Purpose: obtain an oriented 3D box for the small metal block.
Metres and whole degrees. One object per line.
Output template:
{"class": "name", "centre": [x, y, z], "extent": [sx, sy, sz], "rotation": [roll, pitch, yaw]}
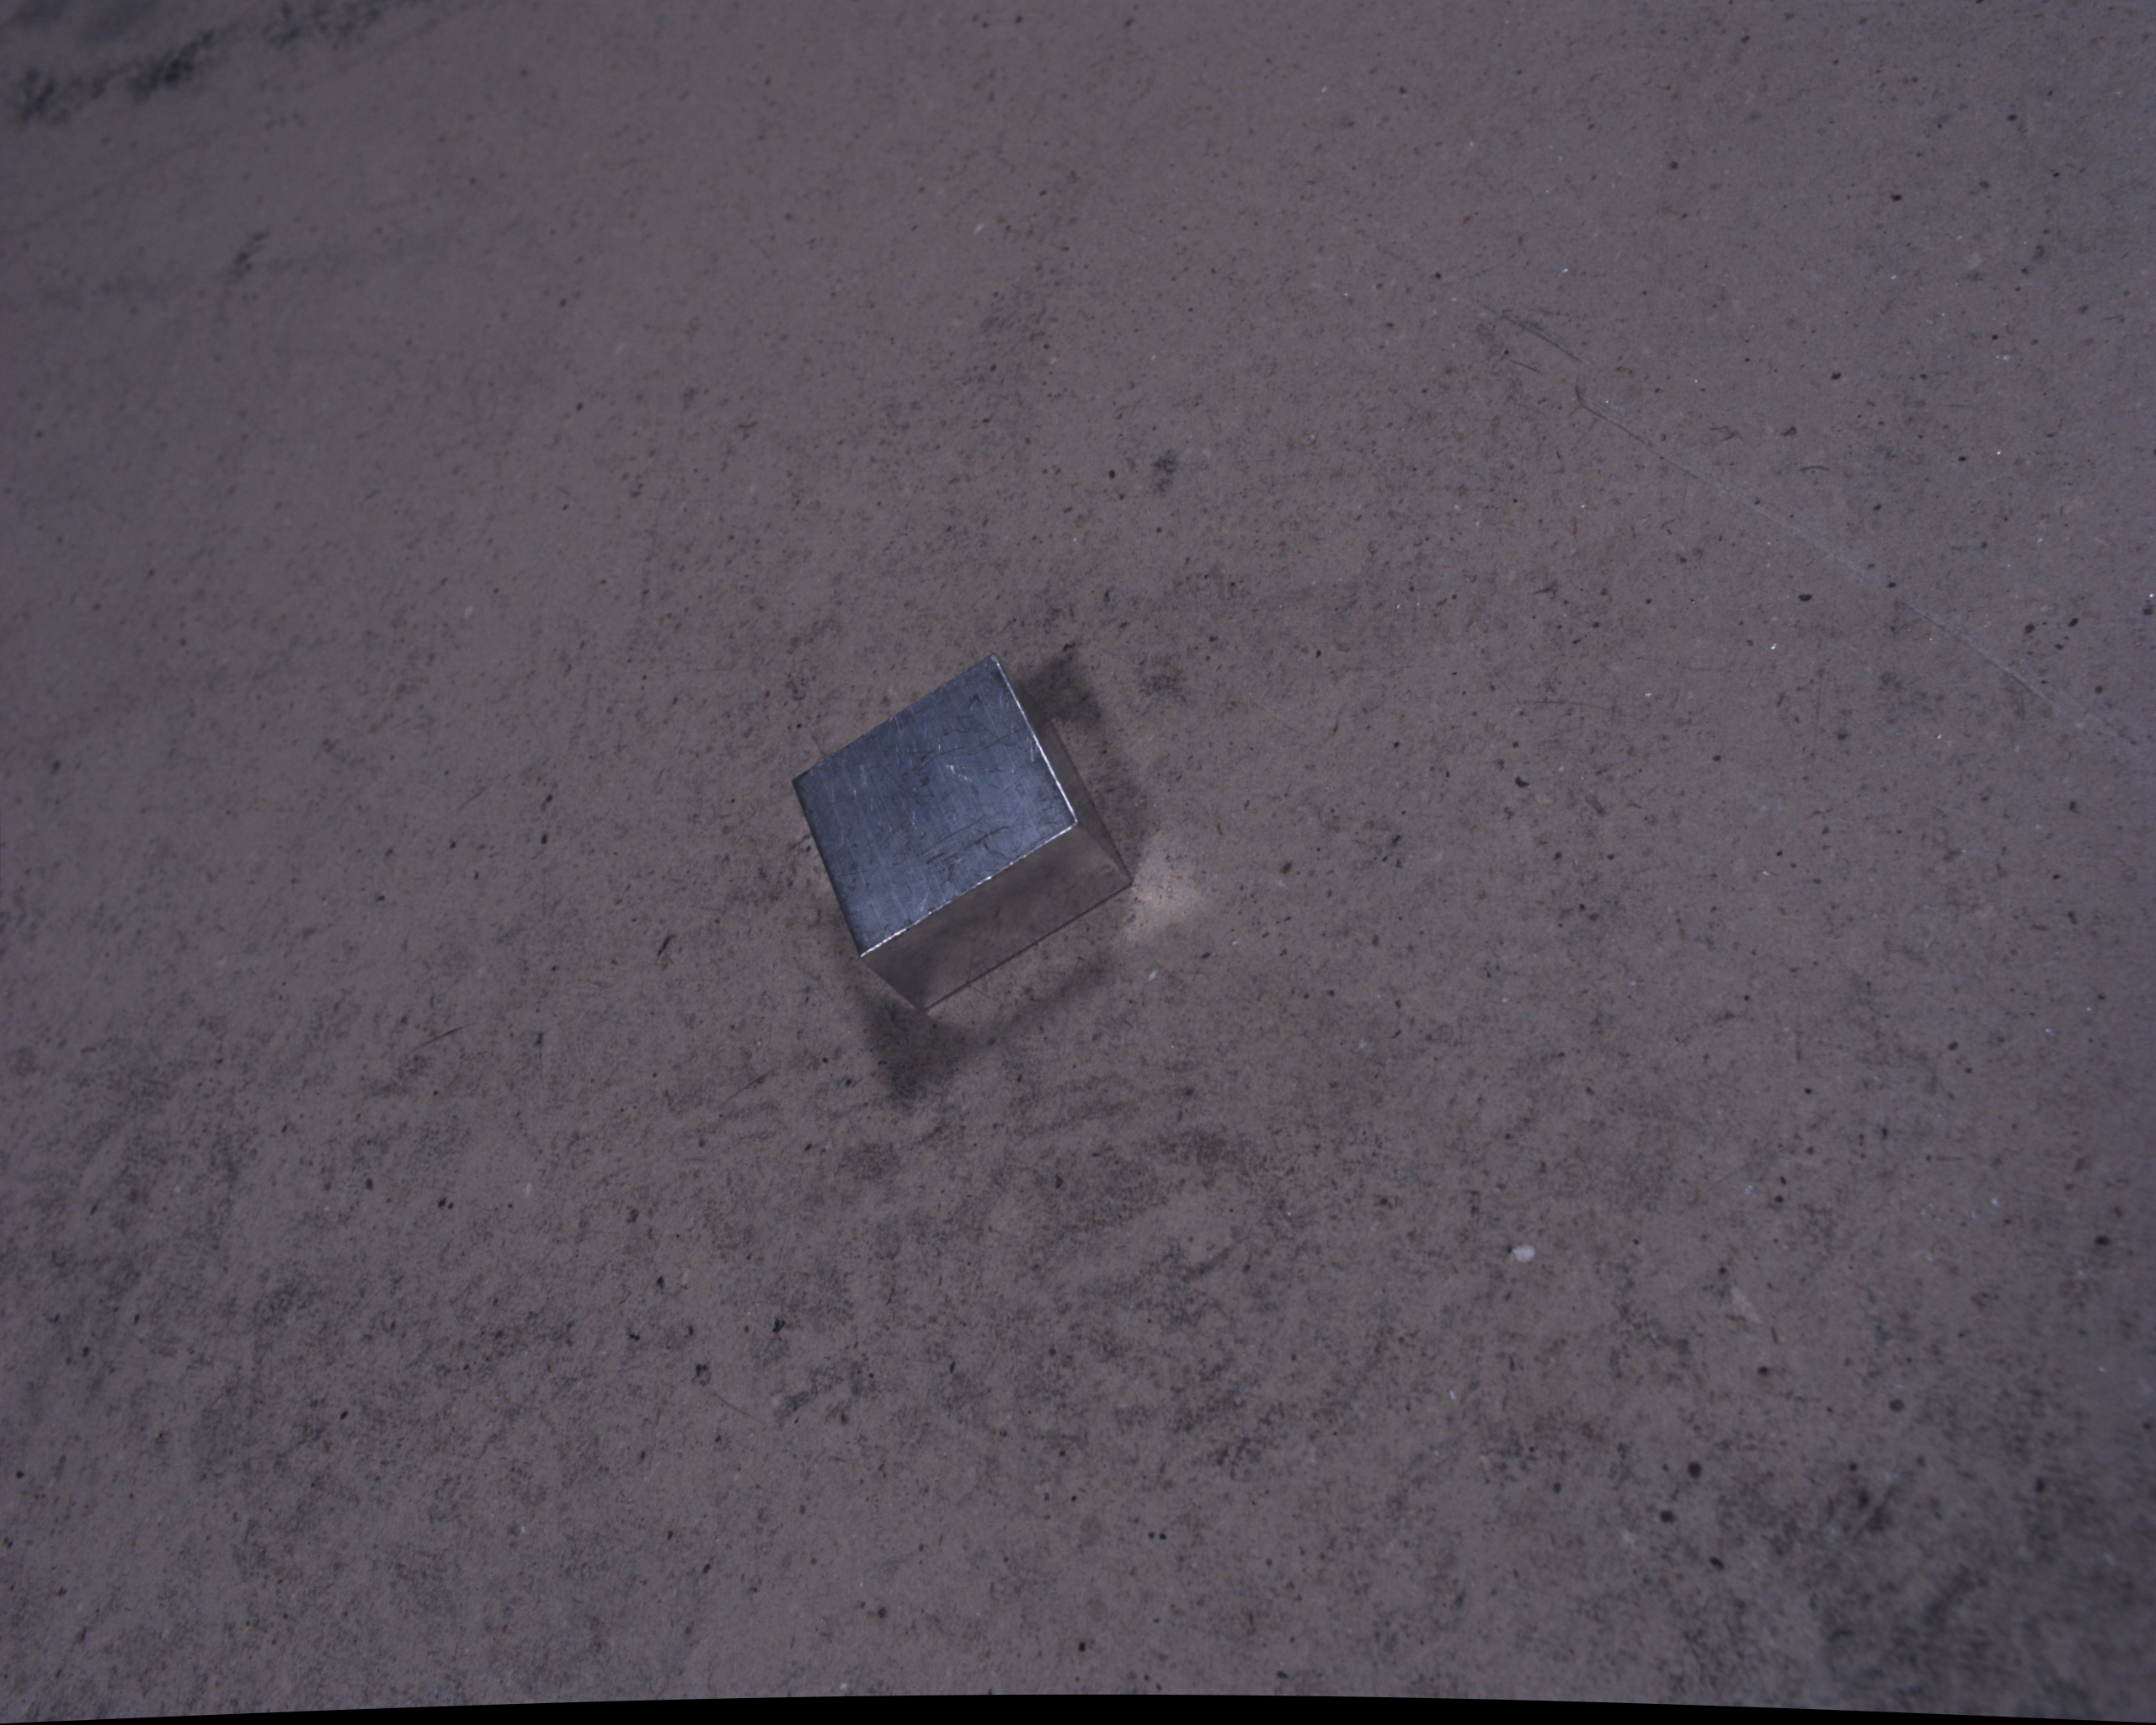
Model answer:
{"class": "small metal block", "centre": [-0.024, -0.006, 0.421], "extent": [0.050, 0.025, 0.050], "rotation": [-32, 52, 7]}
